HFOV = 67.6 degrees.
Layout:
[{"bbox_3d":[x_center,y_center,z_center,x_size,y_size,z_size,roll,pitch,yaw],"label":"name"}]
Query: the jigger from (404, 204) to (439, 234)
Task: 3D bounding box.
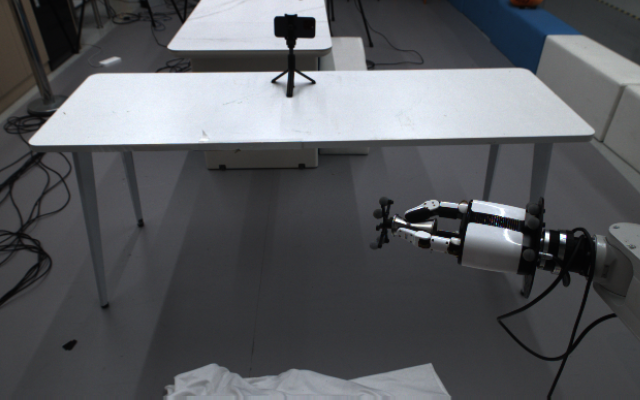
[{"bbox_3d":[0.163,0.043,0.808,0.071,0.043,0.043,8,34,23],"label":"jigger"}]
